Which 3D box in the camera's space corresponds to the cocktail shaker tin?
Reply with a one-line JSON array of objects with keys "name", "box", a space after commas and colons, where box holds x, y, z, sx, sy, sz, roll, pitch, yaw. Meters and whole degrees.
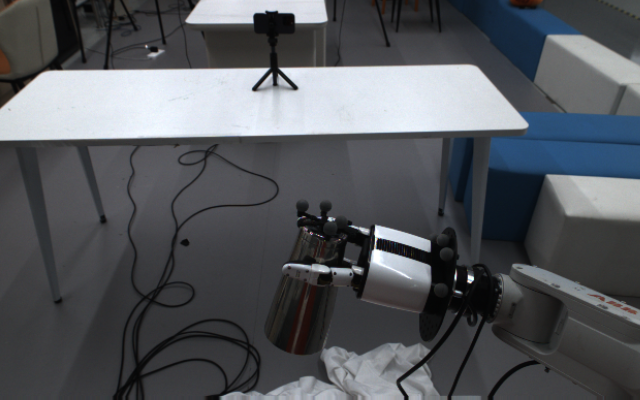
[{"name": "cocktail shaker tin", "box": [-0.013, 0.114, 0.676, 0.093, 0.170, 0.093, 14, 19, -5]}]
